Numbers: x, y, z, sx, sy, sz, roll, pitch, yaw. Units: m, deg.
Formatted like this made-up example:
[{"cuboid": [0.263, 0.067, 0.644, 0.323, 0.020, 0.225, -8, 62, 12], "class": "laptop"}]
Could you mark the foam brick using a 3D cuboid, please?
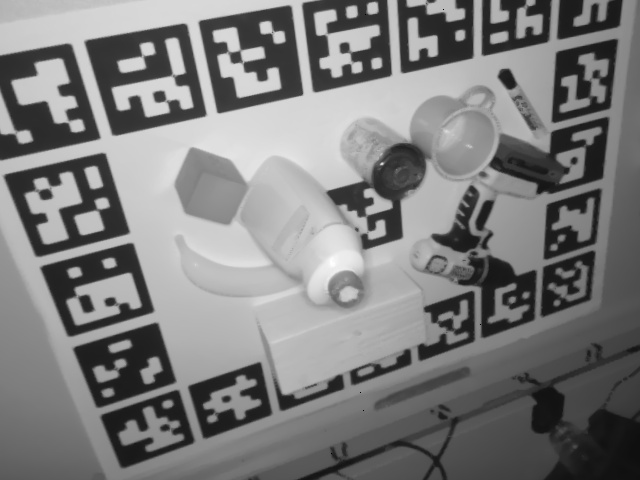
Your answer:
[{"cuboid": [-0.103, -0.064, 0.748, 0.053, 0.078, 0.051, 17, 112, -29], "class": "foam brick"}]

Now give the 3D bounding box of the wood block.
[{"cuboid": [0.047, 0.111, 0.888, 0.208, 0.091, 0.089, -16, 120, -12], "class": "wood block"}]

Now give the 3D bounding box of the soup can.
[{"cuboid": [0.098, -0.094, 0.786, 0.068, 0.102, 0.067, -9, 123, -14], "class": "soup can"}]

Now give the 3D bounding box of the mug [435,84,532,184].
[{"cuboid": [0.195, -0.132, 0.821, 0.094, 0.081, 0.116, 29, 101, -28], "class": "mug"}]

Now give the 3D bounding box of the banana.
[{"cuboid": [-0.048, 0.045, 0.844, 0.199, 0.038, 0.074, 0, 102, -18], "class": "banana"}]

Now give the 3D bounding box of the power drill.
[{"cuboid": [0.253, -0.028, 0.919, 0.186, 0.057, 0.185, 14, 112, -23], "class": "power drill"}]

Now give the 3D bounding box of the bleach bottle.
[{"cuboid": [0.003, -0.005, 0.715, 0.068, 0.250, 0.101, 13, 113, -26], "class": "bleach bottle"}]

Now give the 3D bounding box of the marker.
[{"cuboid": [0.295, -0.180, 0.875, 0.019, 0.019, 0.121, -42, 122, 2], "class": "marker"}]
